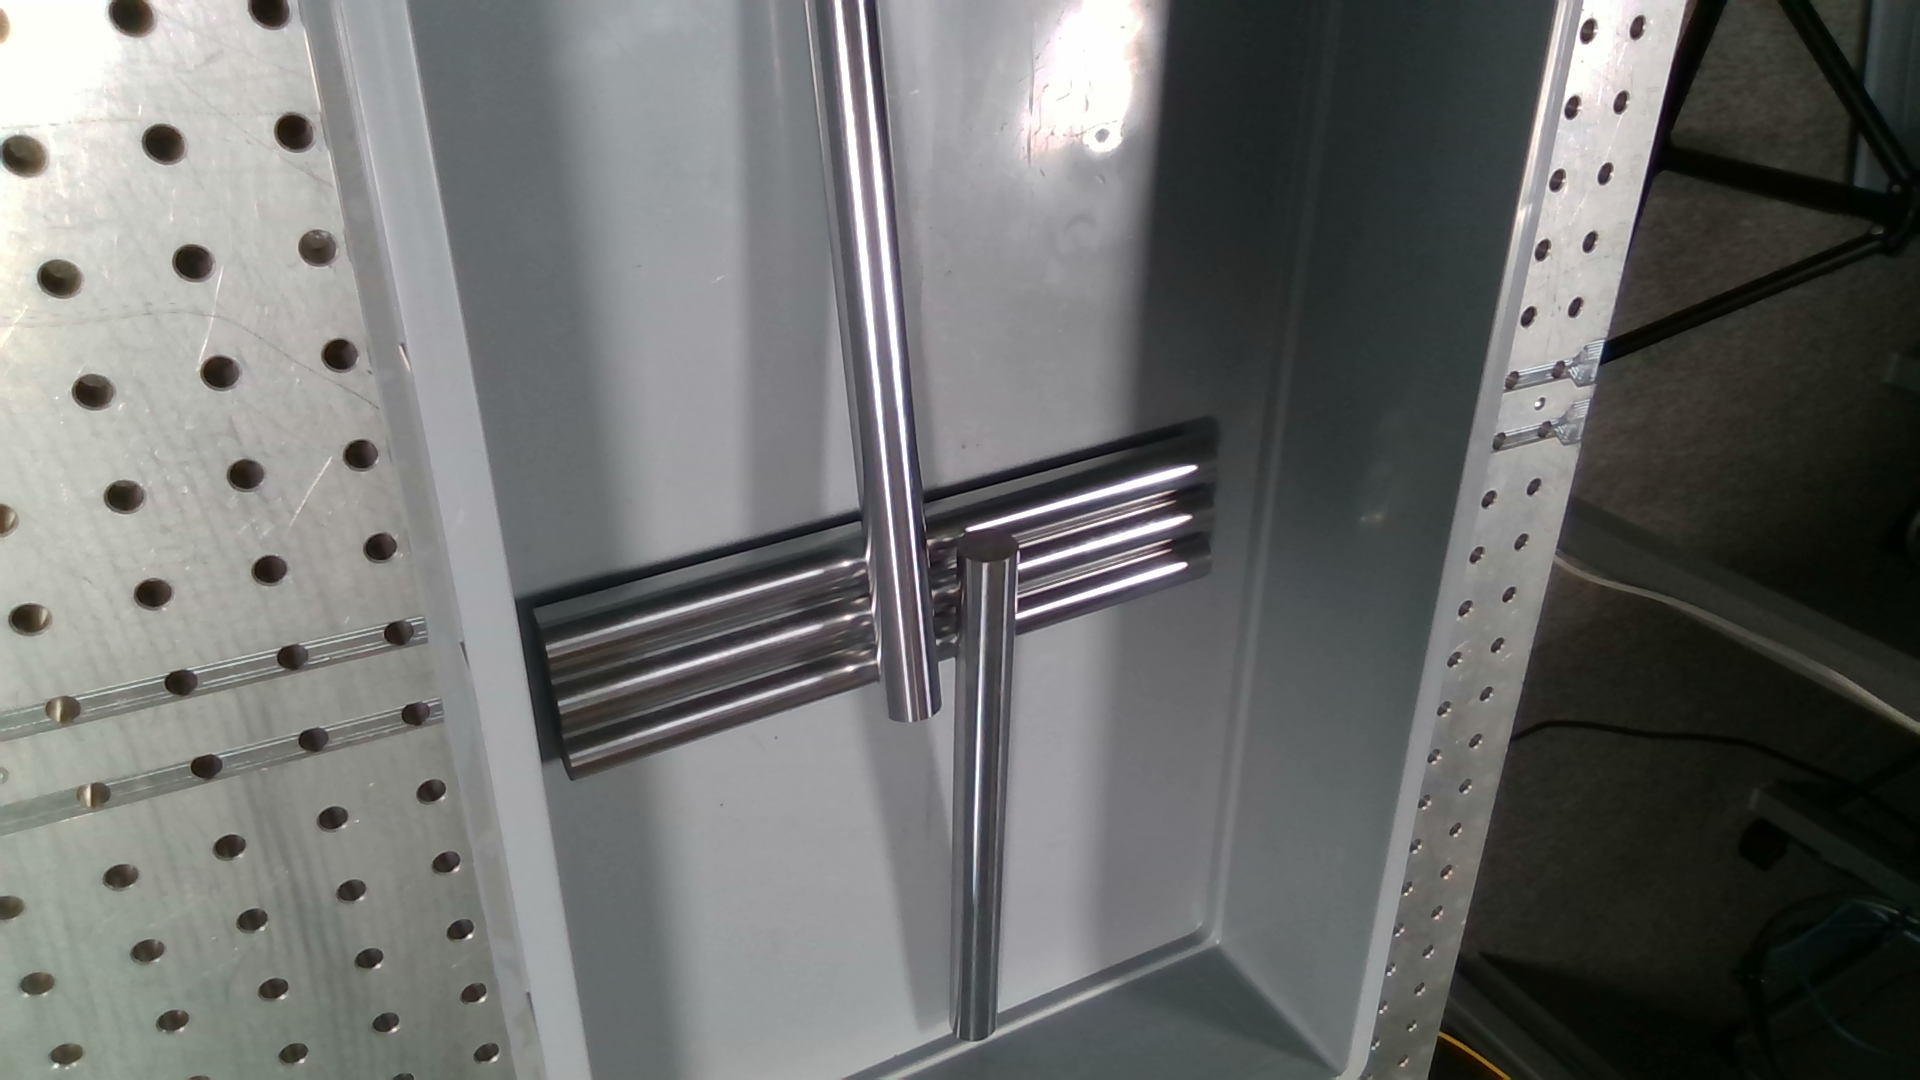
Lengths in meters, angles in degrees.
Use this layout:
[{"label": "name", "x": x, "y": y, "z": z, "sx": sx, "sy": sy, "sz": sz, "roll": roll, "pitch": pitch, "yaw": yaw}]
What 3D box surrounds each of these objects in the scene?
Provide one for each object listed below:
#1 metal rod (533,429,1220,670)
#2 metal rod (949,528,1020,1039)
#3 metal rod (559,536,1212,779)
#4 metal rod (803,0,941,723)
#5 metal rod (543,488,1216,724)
[{"label": "metal rod", "x": -0.022, "y": -0.001, "z": 0.566, "sx": 0.300, "sy": 0.025, "sz": 0.025, "roll": -16, "pitch": 122, "yaw": -24}, {"label": "metal rod", "x": 0.009, "y": 0.126, "z": 0.631, "sx": 0.025, "sy": 0.025, "sz": 0.301, "roll": -17, "pitch": 129, "yaw": -24}, {"label": "metal rod", "x": -0.020, "y": 0.043, "z": 0.590, "sx": 0.300, "sy": 0.025, "sz": 0.025, "roll": -16, "pitch": 122, "yaw": -24}, {"label": "metal rod", "x": -0.031, "y": -0.069, "z": 0.503, "sx": 0.025, "sy": 0.025, "sz": 0.301, "roll": -16, "pitch": 116, "yaw": -24}, {"label": "metal rod", "x": -0.021, "y": 0.020, "z": 0.578, "sx": 0.300, "sy": 0.025, "sz": 0.025, "roll": -16, "pitch": 122, "yaw": -24}]
